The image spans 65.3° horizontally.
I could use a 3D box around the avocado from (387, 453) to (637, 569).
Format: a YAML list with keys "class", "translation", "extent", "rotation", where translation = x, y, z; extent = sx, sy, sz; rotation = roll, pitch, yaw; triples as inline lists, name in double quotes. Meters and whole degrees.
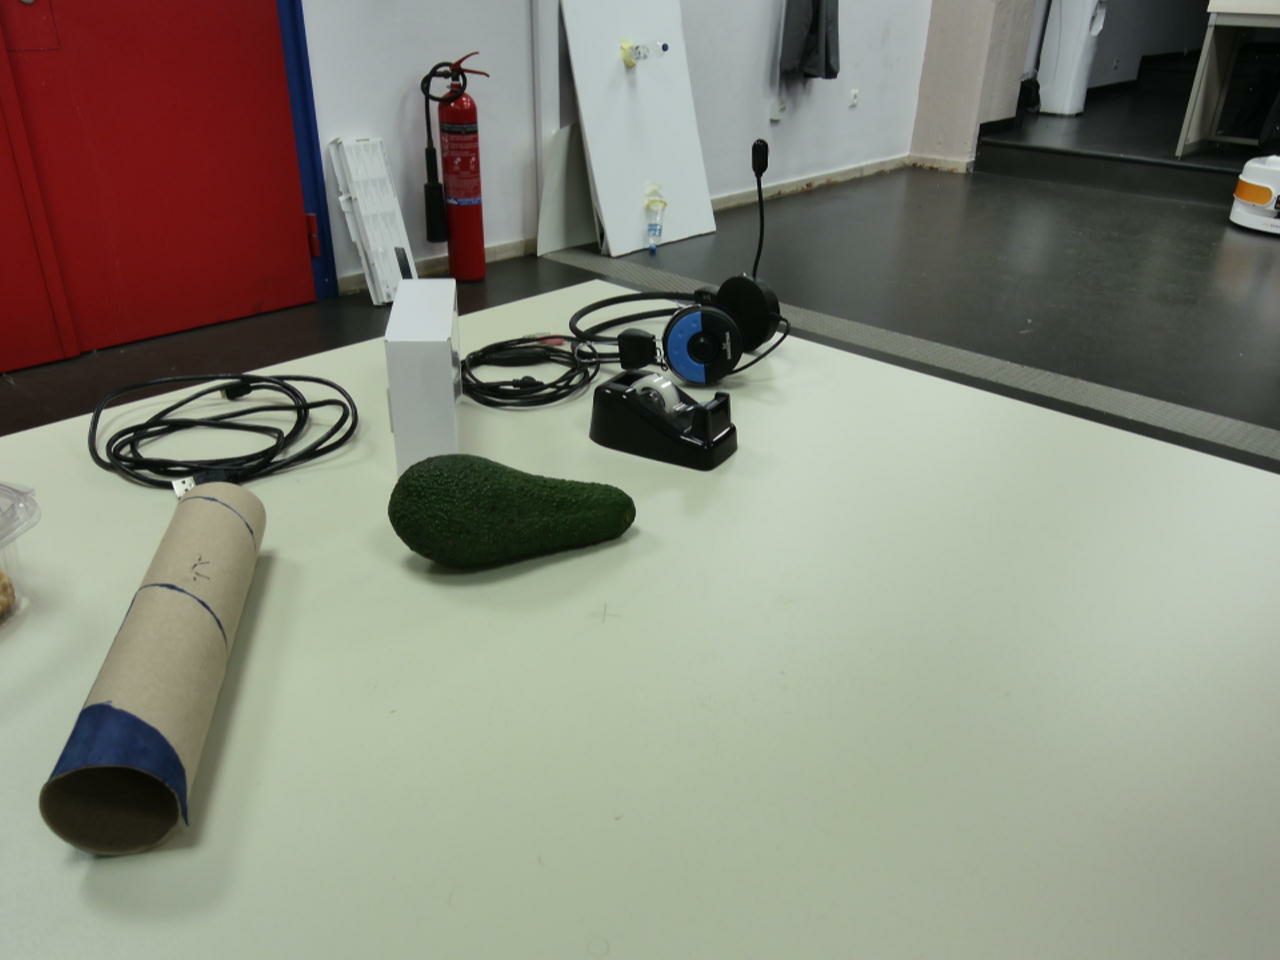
- class: "avocado"
  translation: [-0.071, 0.010, 0.565]
  extent: [0.141, 0.067, 0.063]
  rotation: [-15, 30, -30]
